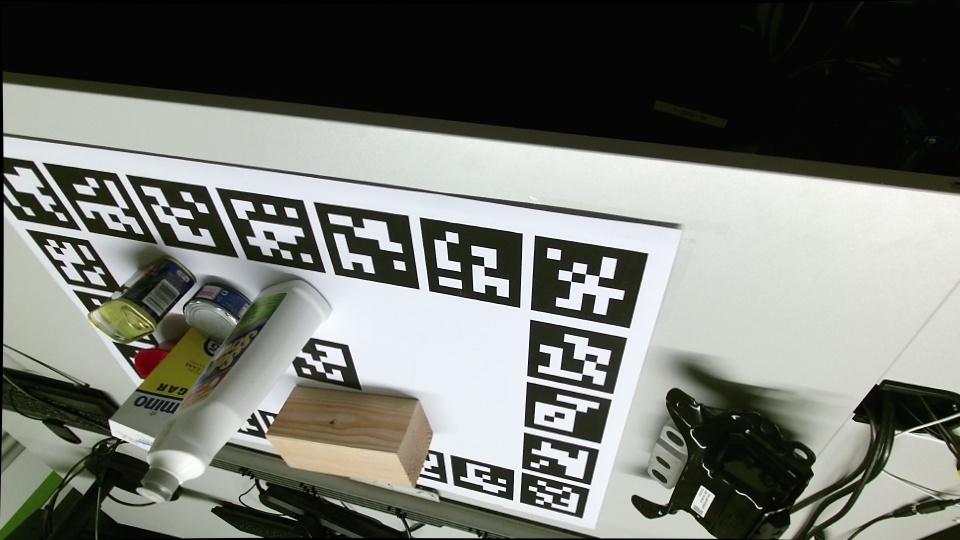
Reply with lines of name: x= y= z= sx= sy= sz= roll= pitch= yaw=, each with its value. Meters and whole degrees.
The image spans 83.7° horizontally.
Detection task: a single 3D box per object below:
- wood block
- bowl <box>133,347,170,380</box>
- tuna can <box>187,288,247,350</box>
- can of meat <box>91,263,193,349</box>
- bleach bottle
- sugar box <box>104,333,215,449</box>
wood block: x=-0.185 y=0.243 z=0.767 sx=0.207 sy=0.089 sz=0.091 roll=1 pitch=126 yaw=19
bowl: x=-0.434 y=0.163 z=0.800 sx=0.162 sy=0.055 sz=0.162 roll=7 pitch=132 yaw=8
tuna can: x=-0.337 y=0.064 z=0.691 sx=0.086 sy=0.033 sz=0.086 roll=8 pitch=129 yaw=11
can of meat: x=-0.425 y=0.045 z=0.678 sx=0.102 sy=0.083 sz=0.058 roll=-17 pitch=126 yaw=32
bleach bottle: x=-0.266 y=0.127 z=0.579 sx=0.103 sy=0.250 sz=0.068 roll=-14 pitch=125 yaw=28
sugar box: x=-0.374 y=0.152 z=0.684 sx=0.093 sy=0.176 sz=0.045 roll=22 pitch=131 yaw=-5
